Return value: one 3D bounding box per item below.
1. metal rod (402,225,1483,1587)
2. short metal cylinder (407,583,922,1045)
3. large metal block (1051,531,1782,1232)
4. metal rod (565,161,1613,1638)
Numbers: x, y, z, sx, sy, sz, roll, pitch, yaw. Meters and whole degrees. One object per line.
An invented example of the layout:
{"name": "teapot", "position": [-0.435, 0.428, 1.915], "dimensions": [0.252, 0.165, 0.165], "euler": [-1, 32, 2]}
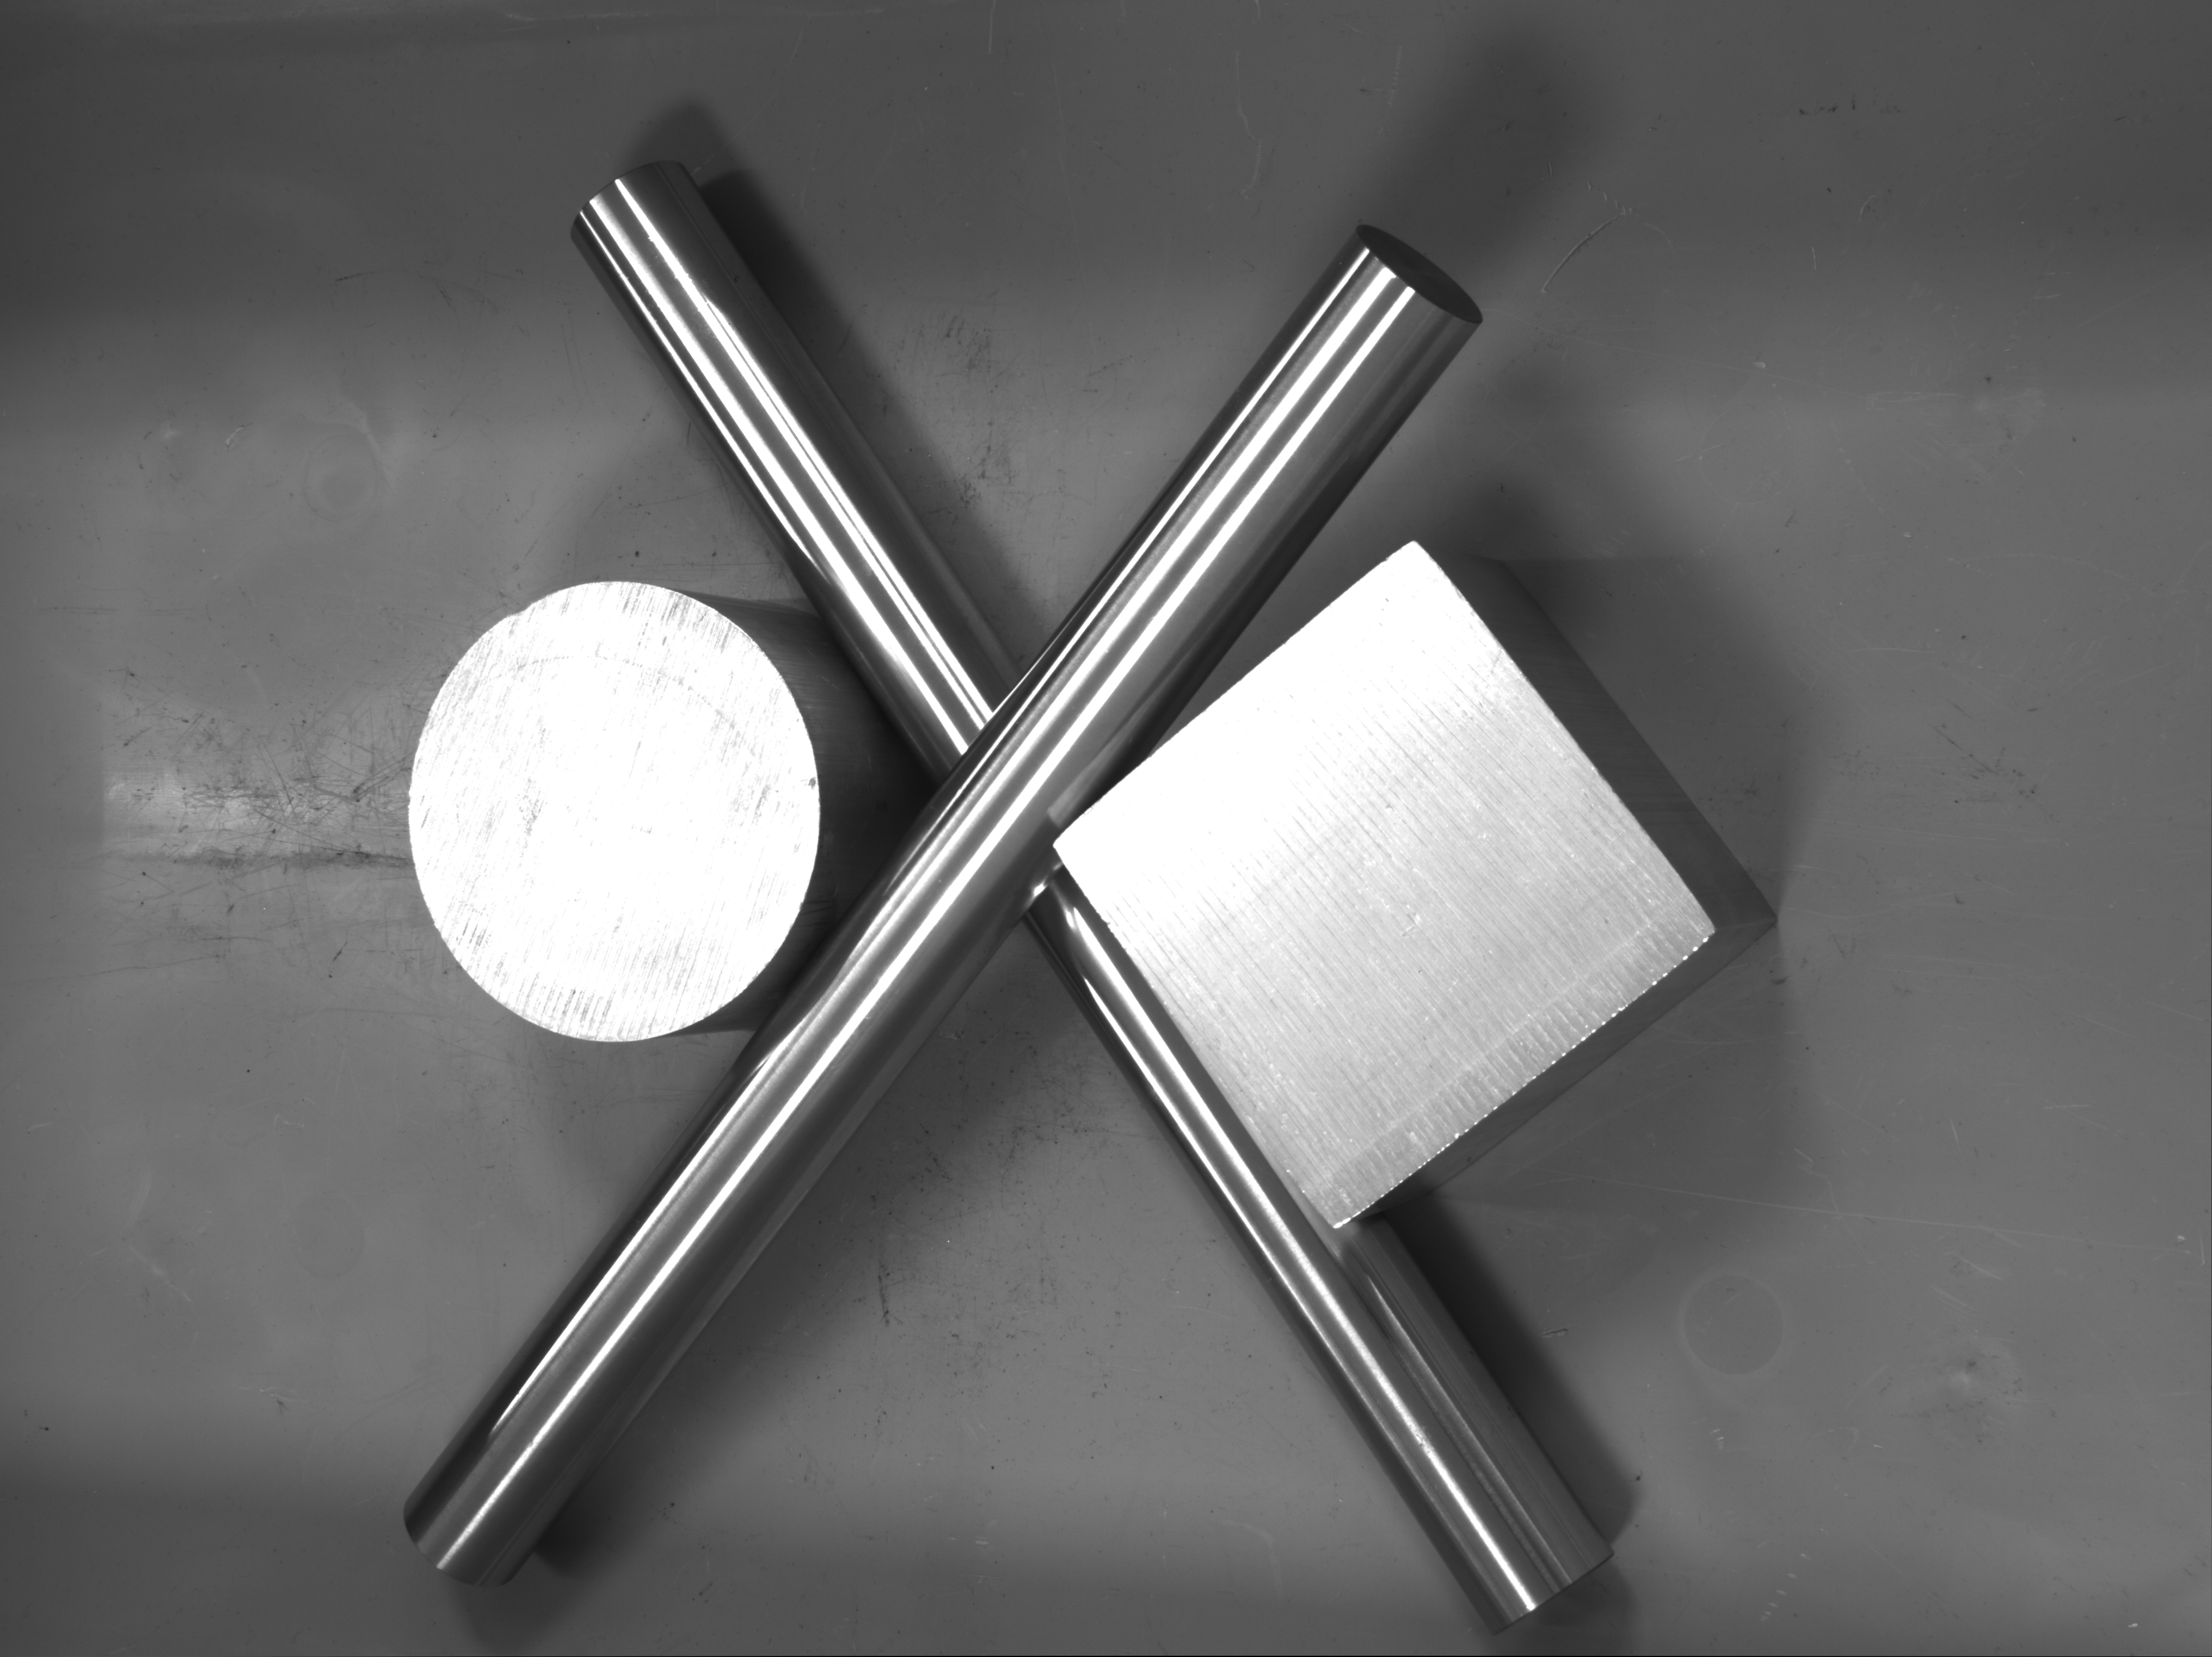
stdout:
{"name": "metal rod", "position": [-0.036, 0.023, 0.636], "dimensions": [0.025, 0.025, 0.300], "euler": [44, 112, 15]}
{"name": "short metal cylinder", "position": [-0.078, -0.002, 0.660], "dimensions": [0.080, 0.050, 0.080], "euler": [0, 90, 20]}
{"name": "large metal block", "position": [0.052, 0.009, 0.612], "dimensions": [0.080, 0.050, 0.080], "euler": [-40, 77, 16]}
{"name": "metal rod", "position": [-0.007, 0.007, 0.647], "dimensions": [0.025, 0.025, 0.300], "euler": [-37, 78, 16]}
